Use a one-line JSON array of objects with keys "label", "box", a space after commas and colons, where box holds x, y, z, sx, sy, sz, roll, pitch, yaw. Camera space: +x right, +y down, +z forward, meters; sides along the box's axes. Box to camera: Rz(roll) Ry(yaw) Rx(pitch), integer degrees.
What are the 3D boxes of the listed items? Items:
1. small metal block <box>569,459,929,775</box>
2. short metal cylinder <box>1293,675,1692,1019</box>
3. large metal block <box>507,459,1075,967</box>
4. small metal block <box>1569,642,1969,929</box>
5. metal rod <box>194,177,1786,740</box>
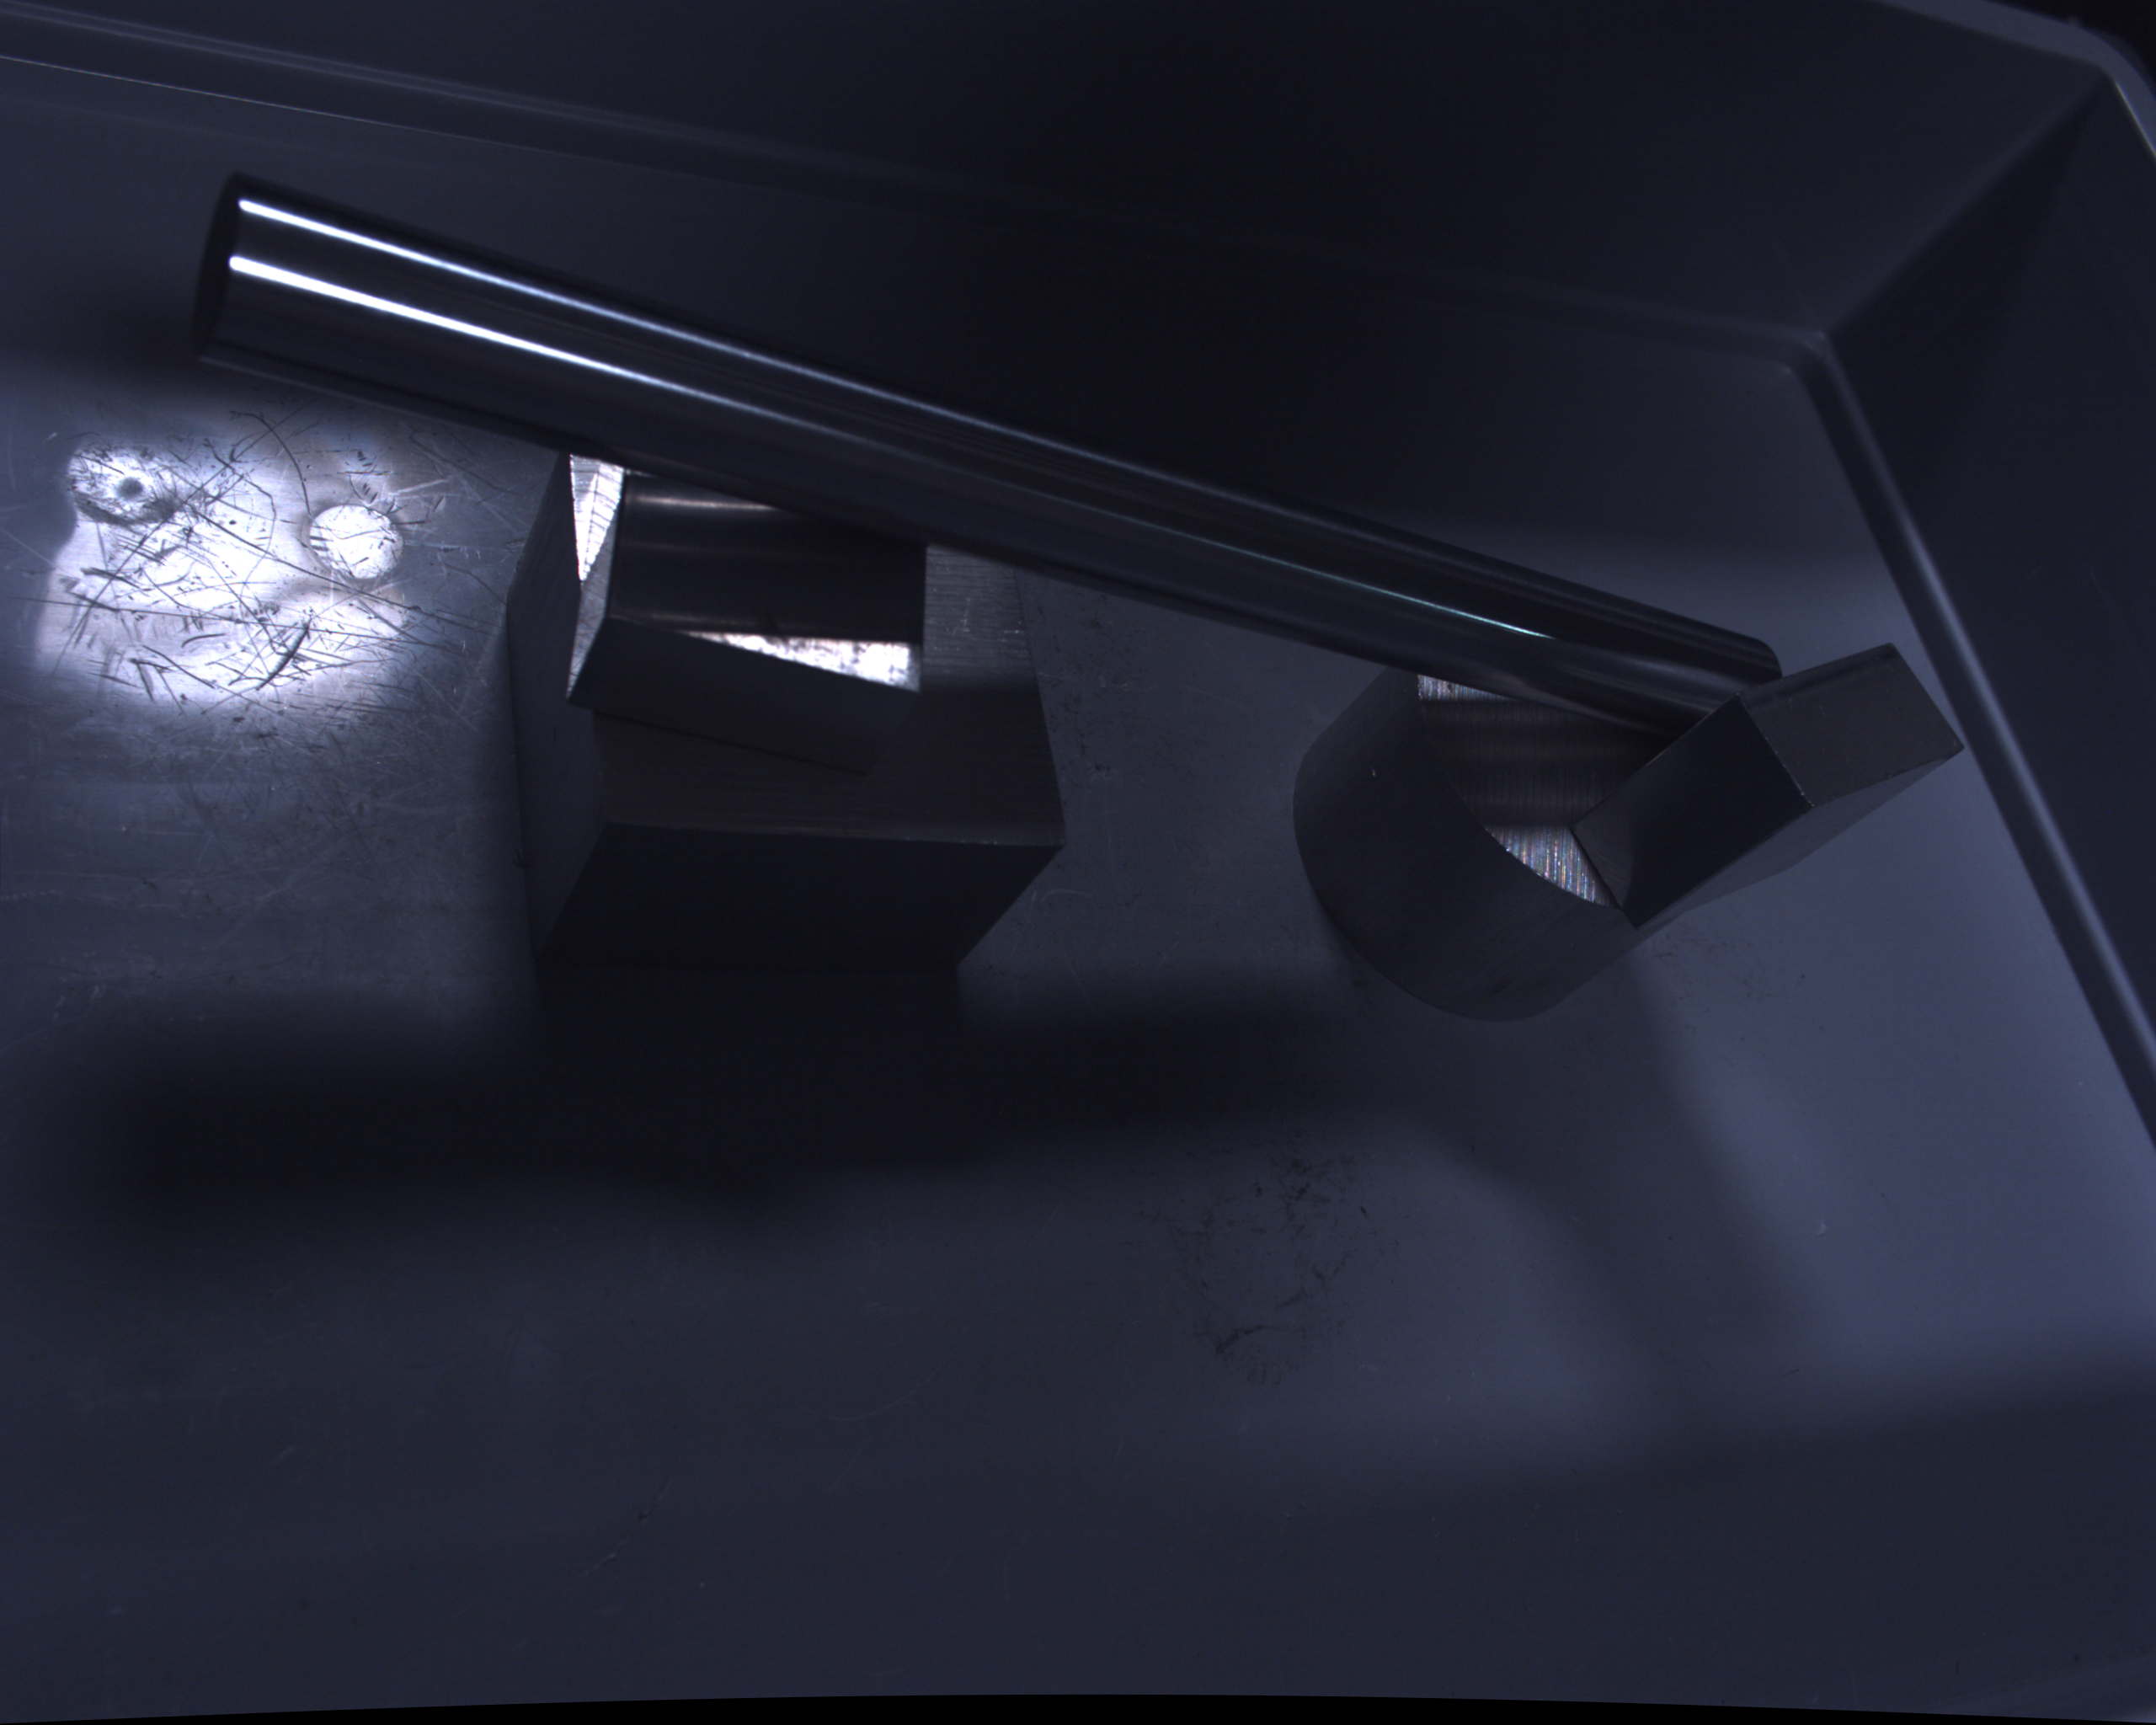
[{"label": "small metal block", "box": [-0.052, -0.047, 0.341, 0.050, 0.025, 0.050, 12, 56, -22]}, {"label": "short metal cylinder", "box": [0.094, -0.013, 0.448, 0.081, 0.050, 0.080, 14, 56, -21]}, {"label": "large metal block", "box": [-0.054, -0.028, 0.375, 0.081, 0.050, 0.080, 3, 61, -27]}, {"label": "small metal block", "box": [0.133, -0.015, 0.405, 0.050, 0.050, 0.025, -16, 70, -35]}, {"label": "metal rod", "box": [0.012, -0.056, 0.356, 0.302, 0.025, 0.025, 10, 57, -32]}]
